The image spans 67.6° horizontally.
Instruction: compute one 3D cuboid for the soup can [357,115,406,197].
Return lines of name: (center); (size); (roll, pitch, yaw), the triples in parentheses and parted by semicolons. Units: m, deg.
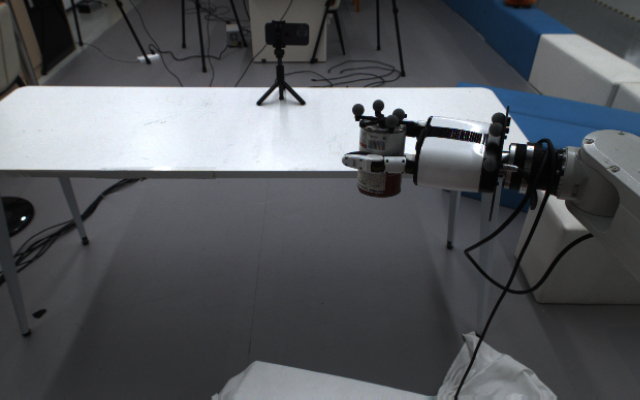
soup can: (0.091, -0.063, 0.714); (0.067, 0.101, 0.067); (1, 25, 0)
